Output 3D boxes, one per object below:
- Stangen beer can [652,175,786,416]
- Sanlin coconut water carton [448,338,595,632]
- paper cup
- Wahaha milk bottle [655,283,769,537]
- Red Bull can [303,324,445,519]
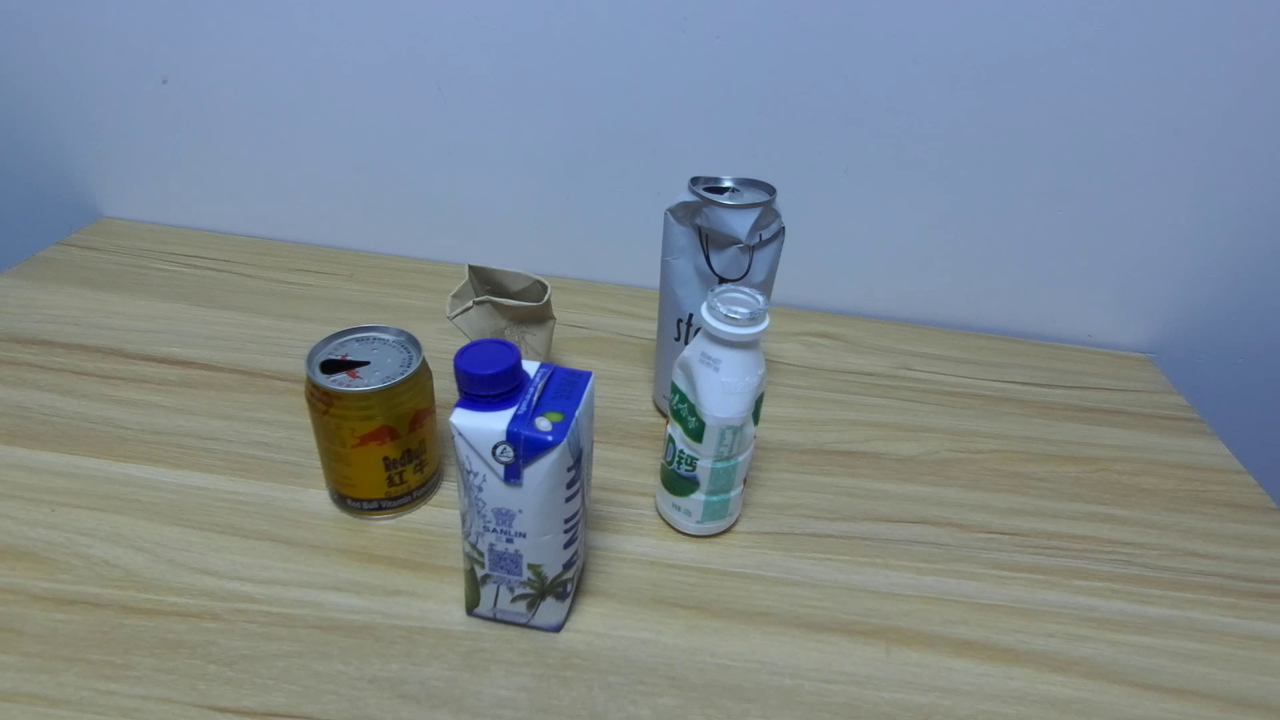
[{"bbox_3d":[0.049,-0.033,0.459,0.065,0.166,0.066,27,35,34],"label":"Stangen beer can"},{"bbox_3d":[-0.055,0.062,0.338,0.061,0.144,0.060,8,31,3],"label":"Sanlin coconut water carton"},{"bbox_3d":[-0.094,-0.012,0.480,0.066,0.083,0.058,10,38,12],"label":"paper cup"},{"bbox_3d":[0.043,0.030,0.383,0.056,0.149,0.055,5,36,-3],"label":"Wahaha milk bottle"},{"bbox_3d":[-0.148,0.035,0.398,0.067,0.093,0.067,4,35,-2],"label":"Red Bull can"}]
